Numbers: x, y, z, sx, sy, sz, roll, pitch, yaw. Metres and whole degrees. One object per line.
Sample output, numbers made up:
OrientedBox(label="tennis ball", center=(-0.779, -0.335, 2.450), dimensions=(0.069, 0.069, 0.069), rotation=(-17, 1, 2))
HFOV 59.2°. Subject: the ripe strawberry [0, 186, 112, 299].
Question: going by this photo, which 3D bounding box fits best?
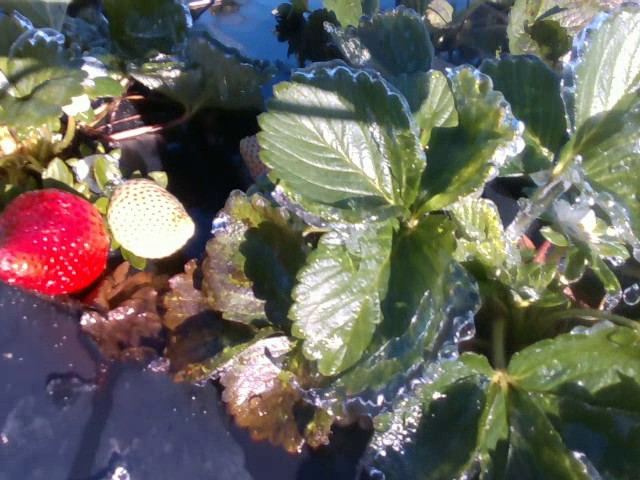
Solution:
OrientedBox(label="ripe strawberry", center=(-0.091, 0.005, 0.182), dimensions=(0.040, 0.042, 0.053), rotation=(-19, 14, 4))
